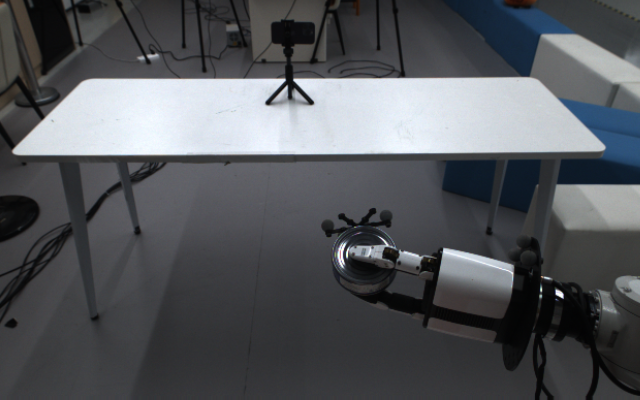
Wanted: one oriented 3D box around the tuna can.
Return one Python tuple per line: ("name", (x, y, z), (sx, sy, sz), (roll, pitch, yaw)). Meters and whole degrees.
("tuna can", (0.060, 0.075, 0.623), (0.085, 0.034, 0.085), (-3, 60, 5))
